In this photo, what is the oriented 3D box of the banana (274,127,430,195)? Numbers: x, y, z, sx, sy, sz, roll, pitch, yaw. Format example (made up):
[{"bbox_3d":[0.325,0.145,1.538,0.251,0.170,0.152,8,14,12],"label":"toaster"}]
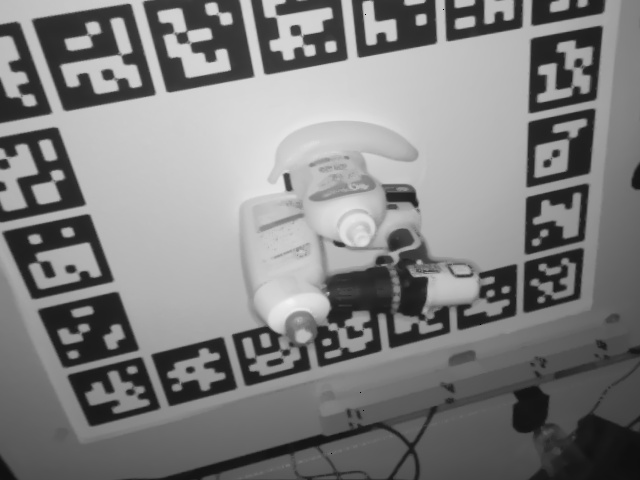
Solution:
[{"bbox_3d":[0.039,-0.101,0.841,0.199,0.039,0.073,-8,117,-11],"label":"banana"}]

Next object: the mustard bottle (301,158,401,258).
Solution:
[{"bbox_3d":[0.038,-0.032,0.778,0.097,0.192,0.058,-11,119,-5],"label":"mustard bottle"}]

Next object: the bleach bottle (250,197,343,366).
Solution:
[{"bbox_3d":[-0.019,0.043,0.776,0.103,0.251,0.067,-9,124,-7],"label":"bleach bottle"}]

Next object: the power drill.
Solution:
[{"bbox_3d":[0.091,0.030,0.799,0.186,0.187,0.057,0,118,-11],"label":"power drill"}]
